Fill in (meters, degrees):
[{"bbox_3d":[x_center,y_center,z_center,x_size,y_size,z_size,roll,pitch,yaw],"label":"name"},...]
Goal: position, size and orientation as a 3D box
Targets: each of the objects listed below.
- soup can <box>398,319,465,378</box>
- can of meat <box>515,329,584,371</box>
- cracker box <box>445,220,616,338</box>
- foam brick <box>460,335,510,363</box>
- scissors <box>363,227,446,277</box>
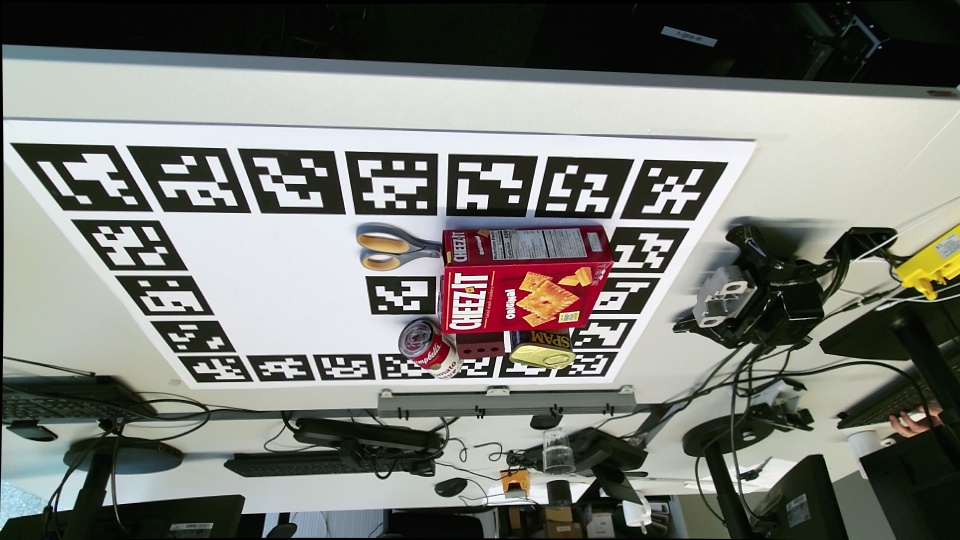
[{"bbox_3d":[-0.077,0.132,0.887,0.068,0.067,0.102,-26,140,22],"label":"soup can"},{"bbox_3d":[0.106,0.107,0.848,0.102,0.083,0.058,10,137,-16],"label":"can of meat"},{"bbox_3d":[0.065,0.020,0.733,0.214,0.071,0.164,-6,140,-5],"label":"cracker box"},{"bbox_3d":[0.007,0.113,0.875,0.078,0.051,0.053,-7,139,2],"label":"foam brick"},{"bbox_3d":[-0.050,-0.027,0.714,0.203,0.016,0.088,-3,139,-2],"label":"scissors"}]
